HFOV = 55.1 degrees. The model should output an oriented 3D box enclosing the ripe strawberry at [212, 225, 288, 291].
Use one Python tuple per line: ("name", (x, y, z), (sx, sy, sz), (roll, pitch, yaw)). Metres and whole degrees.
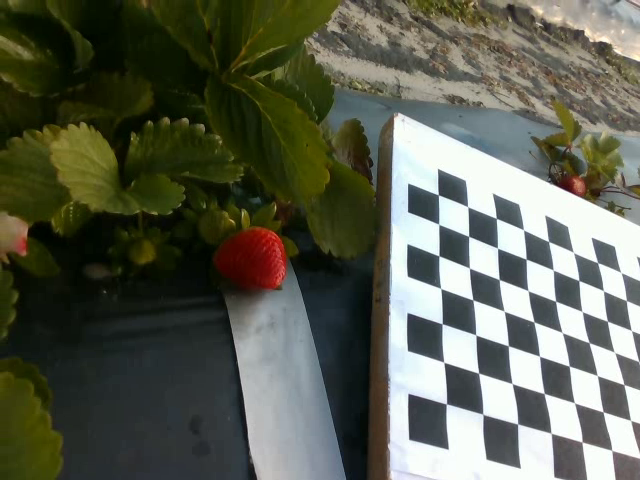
("ripe strawberry", (-0.029, 0.011, 0.308), (0.050, 0.036, 0.055), (20, 35, -28))
